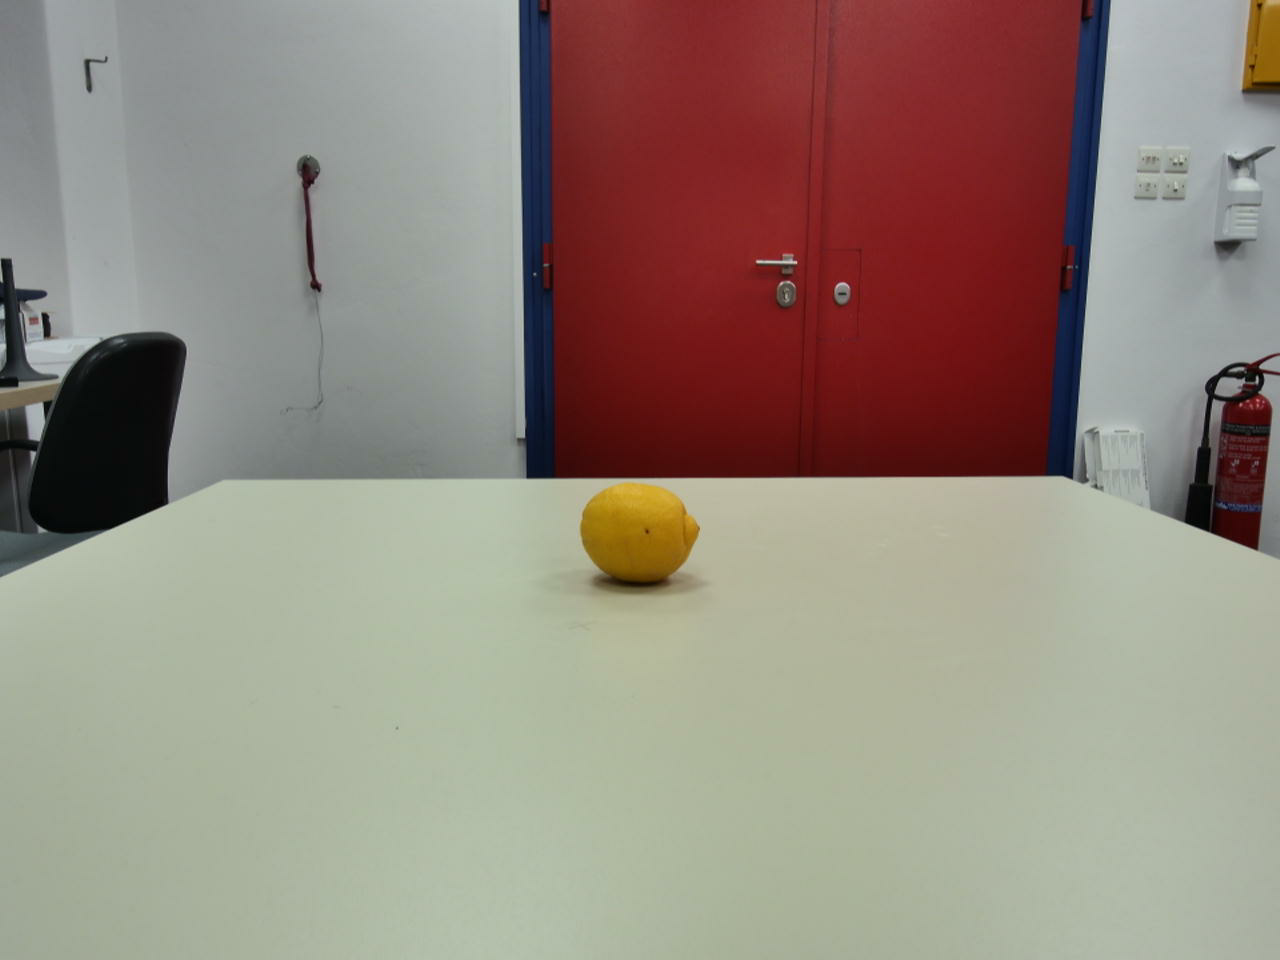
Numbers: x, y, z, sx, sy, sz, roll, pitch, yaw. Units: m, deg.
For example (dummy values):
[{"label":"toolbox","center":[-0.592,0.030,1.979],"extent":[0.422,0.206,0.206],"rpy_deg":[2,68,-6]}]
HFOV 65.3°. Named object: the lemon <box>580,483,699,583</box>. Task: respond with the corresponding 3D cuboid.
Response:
[{"label":"lemon","center":[-0.002,0.032,0.602],"extent":[0.067,0.059,0.060],"rpy_deg":[8,10,41]}]
